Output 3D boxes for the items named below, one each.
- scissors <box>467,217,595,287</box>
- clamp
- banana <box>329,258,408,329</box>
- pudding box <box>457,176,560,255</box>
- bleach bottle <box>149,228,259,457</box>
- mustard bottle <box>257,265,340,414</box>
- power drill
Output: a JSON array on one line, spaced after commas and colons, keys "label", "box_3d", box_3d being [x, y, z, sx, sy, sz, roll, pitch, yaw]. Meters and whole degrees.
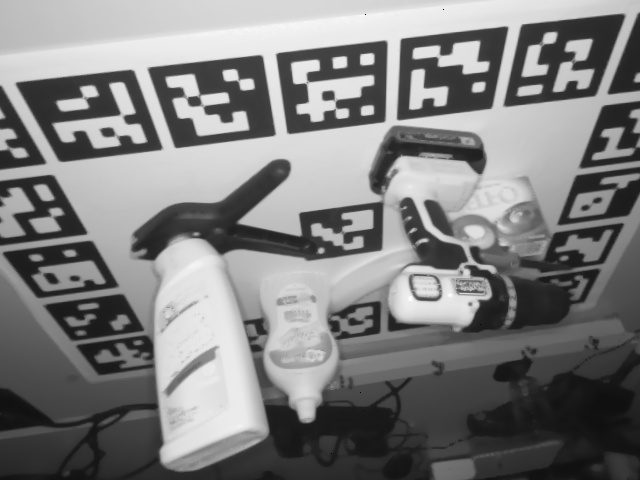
[{"label": "scissors", "box_3d": [0.221, 0.026, 0.758, 0.205, 0.016, 0.086, 14, 131, -19]}, {"label": "clamp", "box_3d": [-0.111, -0.014, 0.763, 0.203, 0.037, 0.164, -10, 138, 2]}, {"label": "banana", "box_3d": [0.075, 0.069, 0.911, 0.195, 0.039, 0.075, -34, 151, 26]}, {"label": "pudding box", "box_3d": [0.205, -0.027, 0.793, 0.114, 0.090, 0.038, -3, 147, -7]}, {"label": "bleach bottle", "box_3d": [-0.133, 0.080, 0.705, 0.102, 0.251, 0.068, -23, 143, 6]}, {"label": "mustard bottle", "box_3d": [-0.026, 0.121, 0.850, 0.097, 0.192, 0.057, 4, 139, -13]}, {"label": "power drill", "box_3d": [0.152, -0.015, 0.675, 0.186, 0.188, 0.056, 1, 146, -16]}]
